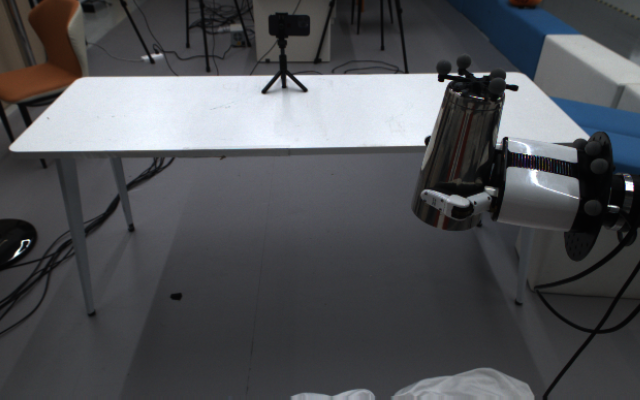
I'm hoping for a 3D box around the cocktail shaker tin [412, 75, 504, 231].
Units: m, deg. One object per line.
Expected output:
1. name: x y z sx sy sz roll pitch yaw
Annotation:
1. cocktail shaker tin: 0.175 -0.058 0.603 0.093 0.170 0.093 3 35 -2
